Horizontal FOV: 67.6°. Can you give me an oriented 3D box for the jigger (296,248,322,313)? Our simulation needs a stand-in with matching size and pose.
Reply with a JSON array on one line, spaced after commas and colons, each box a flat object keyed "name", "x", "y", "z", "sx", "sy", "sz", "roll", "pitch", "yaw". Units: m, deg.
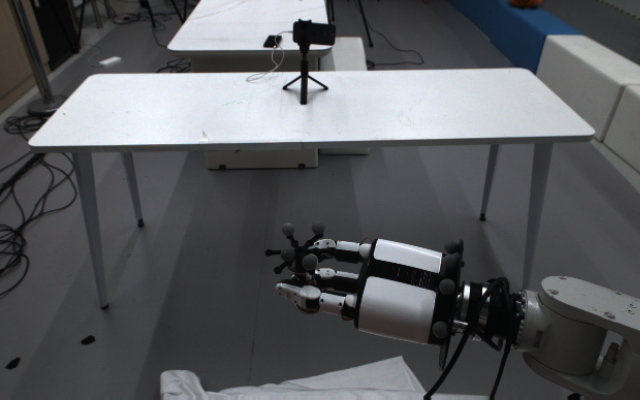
[{"name": "jigger", "x": -0.014, "y": 0.104, "z": 0.626, "sx": 0.043, "sy": 0.071, "sz": 0.043, "roll": -9, "pitch": 31, "yaw": 5}]
